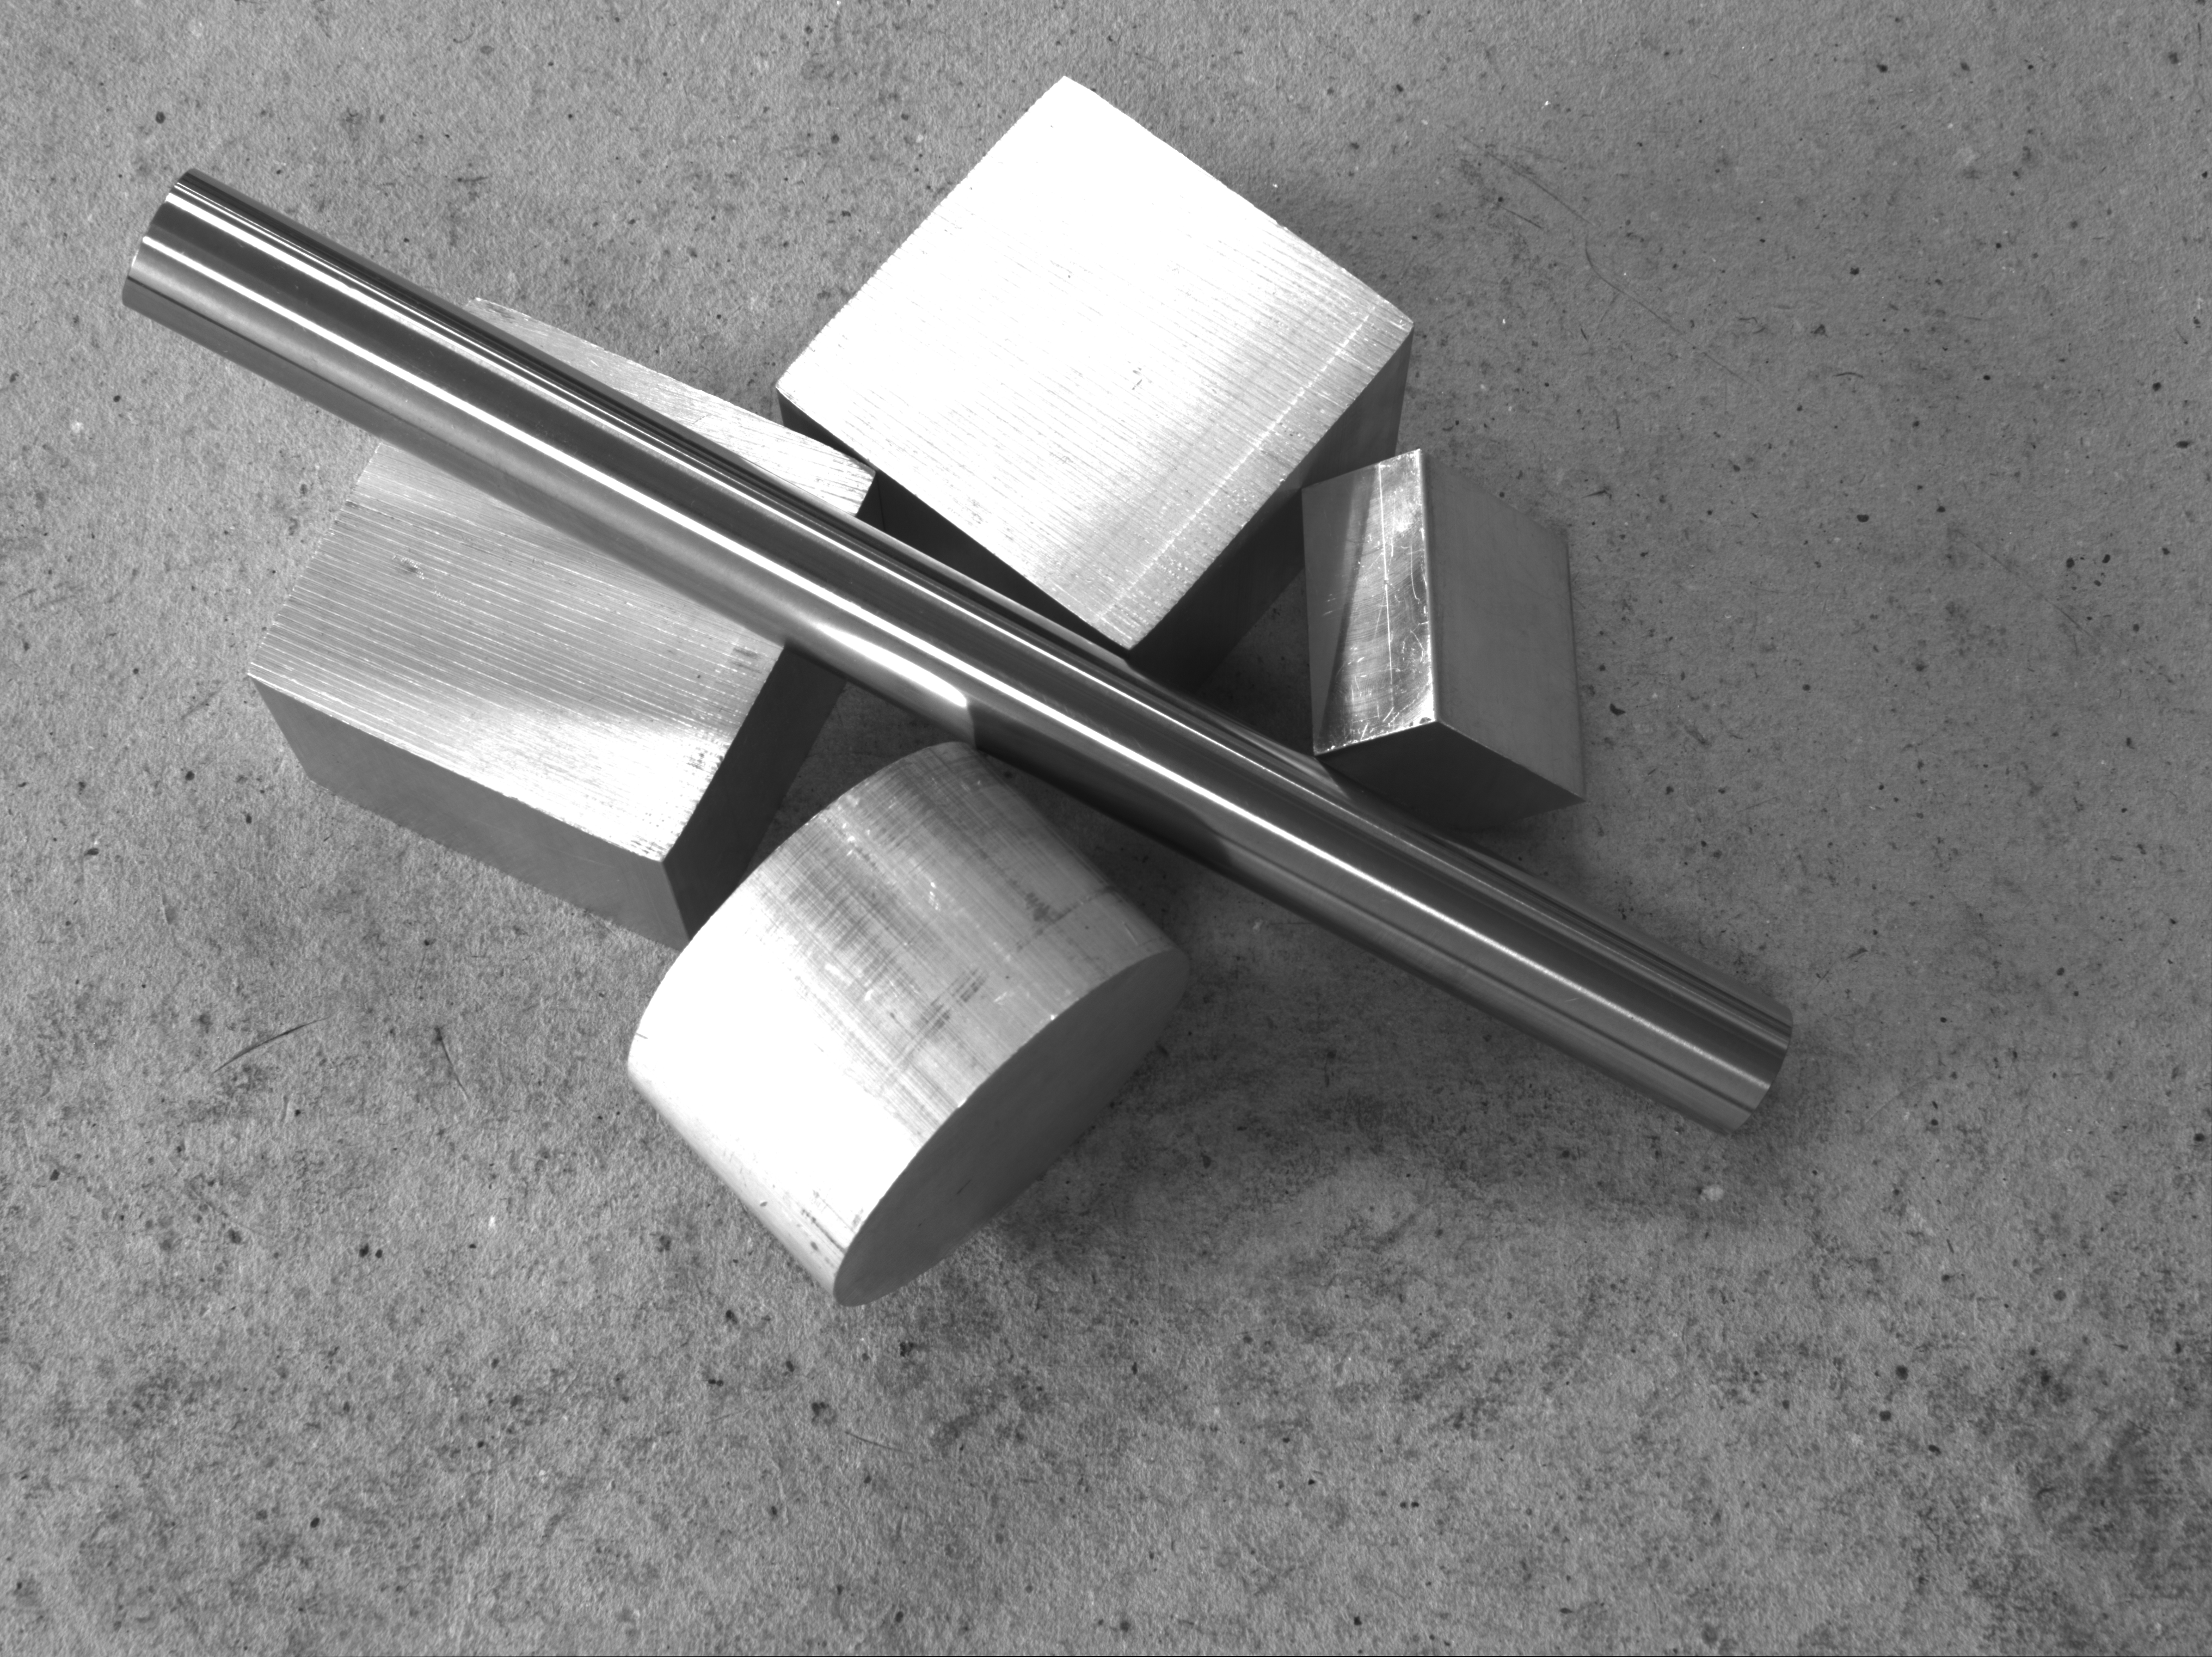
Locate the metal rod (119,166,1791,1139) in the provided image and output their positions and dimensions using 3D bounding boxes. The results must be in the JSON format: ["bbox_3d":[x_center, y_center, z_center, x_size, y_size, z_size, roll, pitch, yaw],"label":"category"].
[{"bbox_3d":[-0.021,-0.027,0.612,0.300,0.025,0.025,28,72,-7],"label":"metal rod"}]

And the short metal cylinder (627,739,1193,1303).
[{"bbox_3d":[-0.032,0.032,0.604,0.080,0.080,0.050,-42,75,-14],"label":"short metal cylinder"}]

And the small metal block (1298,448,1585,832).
[{"bbox_3d":[0.059,-0.032,0.642,0.025,0.050,0.050,-15,66,33],"label":"small metal block"}]

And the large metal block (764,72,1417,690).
[{"bbox_3d":[-0.002,-0.073,0.657,0.080,0.050,0.080,38,74,13],"label":"large metal block"}]

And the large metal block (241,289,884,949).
[{"bbox_3d":[-0.092,-0.036,0.645,0.080,0.050,0.080,24,72,9],"label":"large metal block"}]
